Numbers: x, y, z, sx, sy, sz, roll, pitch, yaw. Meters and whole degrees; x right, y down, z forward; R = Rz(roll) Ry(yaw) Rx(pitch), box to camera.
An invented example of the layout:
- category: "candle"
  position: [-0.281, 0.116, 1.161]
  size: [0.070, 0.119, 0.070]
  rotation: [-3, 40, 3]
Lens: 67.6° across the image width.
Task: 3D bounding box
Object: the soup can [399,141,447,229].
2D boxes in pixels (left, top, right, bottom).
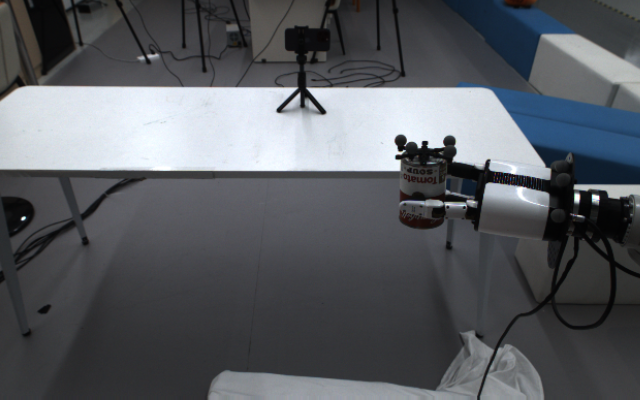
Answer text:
- category: "soup can"
  position: [0.152, -0.019, 0.711]
  size: [0.067, 0.101, 0.067]
  rotation: [-3, 27, 2]
